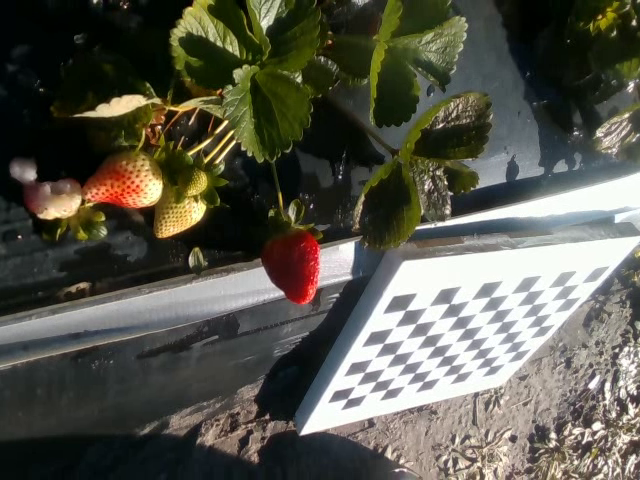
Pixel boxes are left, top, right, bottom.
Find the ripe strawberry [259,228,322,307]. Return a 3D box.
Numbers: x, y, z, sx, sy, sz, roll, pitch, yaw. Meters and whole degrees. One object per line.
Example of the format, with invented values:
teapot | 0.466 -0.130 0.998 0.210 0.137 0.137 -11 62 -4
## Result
ripe strawberry | -0.014 0.016 0.330 0.036 0.046 0.038 -3 -27 -25
